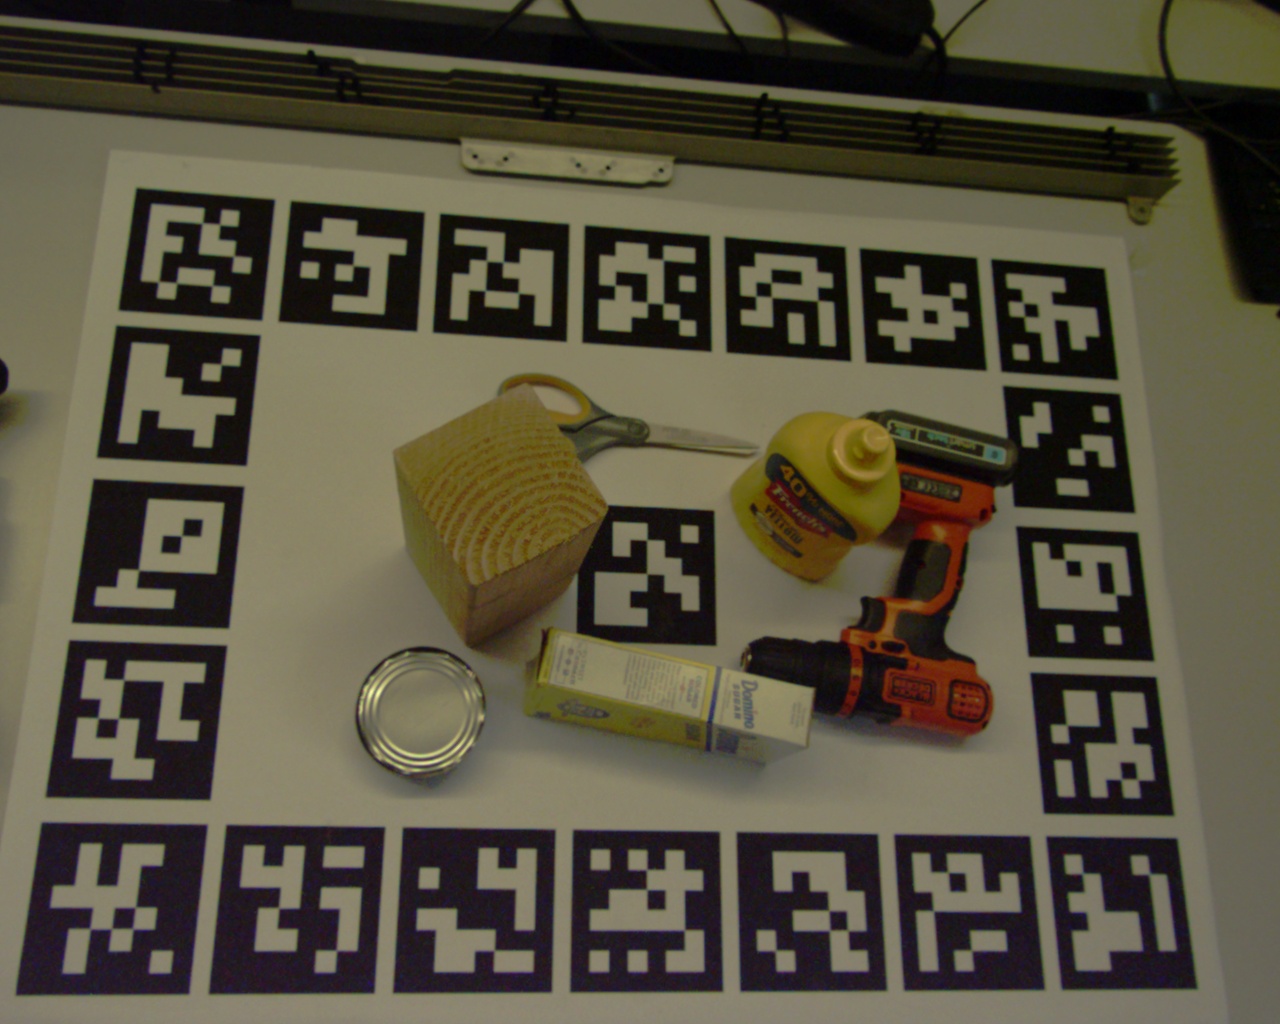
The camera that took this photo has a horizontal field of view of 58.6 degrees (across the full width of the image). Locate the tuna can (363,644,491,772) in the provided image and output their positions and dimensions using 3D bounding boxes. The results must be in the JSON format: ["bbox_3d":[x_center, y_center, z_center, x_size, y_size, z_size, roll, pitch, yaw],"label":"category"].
[{"bbox_3d":[-0.147,0.136,0.787,0.085,0.034,0.086,2,76,-9],"label":"tuna can"}]

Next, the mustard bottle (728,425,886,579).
[{"bbox_3d":[0.122,-0.011,0.795,0.058,0.192,0.096,-38,85,-15],"label":"mustard bottle"}]

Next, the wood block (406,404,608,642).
[{"bbox_3d":[-0.094,0.015,0.750,0.090,0.207,0.090,-26,82,-15],"label":"wood block"}]

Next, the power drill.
[{"bbox_3d":[0.159,0.055,0.844,0.184,0.057,0.187,15,81,-4],"label":"power drill"}]

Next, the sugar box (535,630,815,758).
[{"bbox_3d":[0.021,0.129,0.788,0.176,0.093,0.045,14,70,-6],"label":"sugar box"}]

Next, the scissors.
[{"bbox_3d":[-0.028,-0.057,0.868,0.202,0.016,0.088,4,71,-7],"label":"scissors"}]
